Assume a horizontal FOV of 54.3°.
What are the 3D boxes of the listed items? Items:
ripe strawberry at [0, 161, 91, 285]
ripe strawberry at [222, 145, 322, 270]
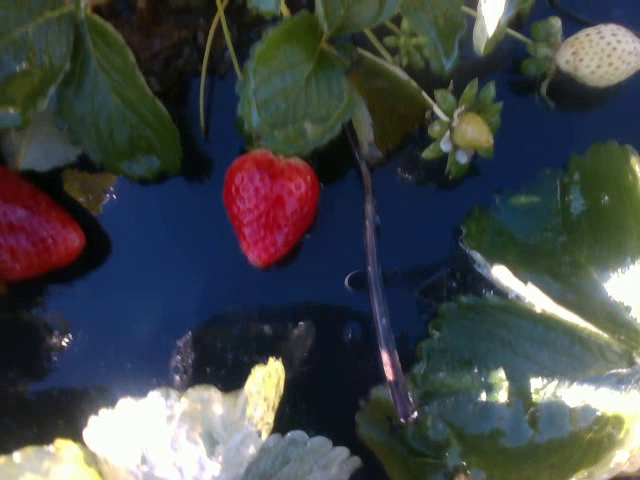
[{"bbox_3d":[-0.110,-0.001,0.215,0.056,0.044,0.040,17,4,-8],"label":"ripe strawberry"},{"bbox_3d":[-0.016,-0.010,0.211,0.039,0.047,0.040,6,-5,-7],"label":"ripe strawberry"}]
